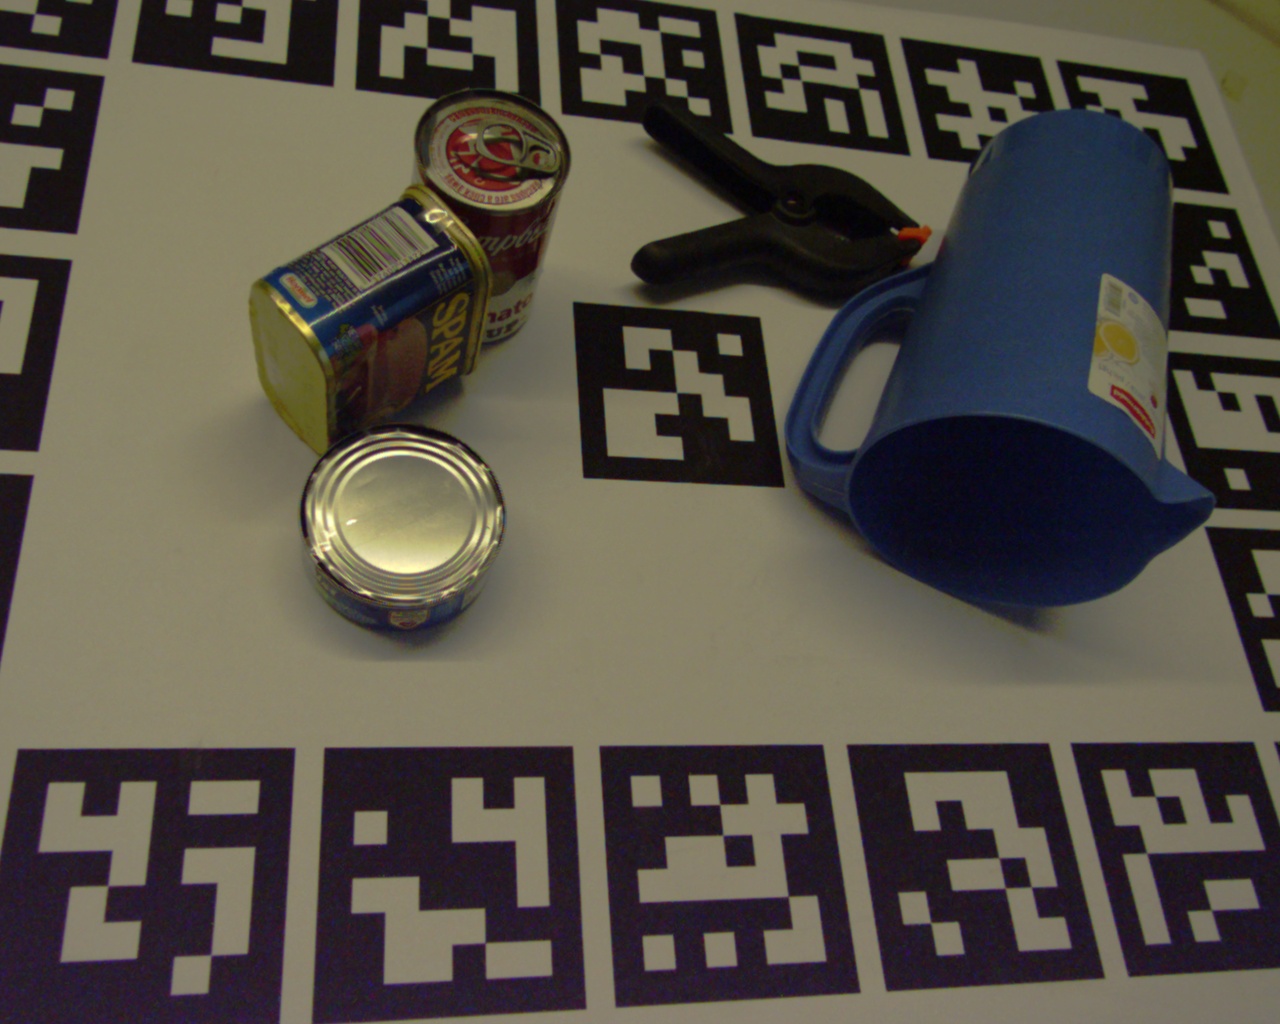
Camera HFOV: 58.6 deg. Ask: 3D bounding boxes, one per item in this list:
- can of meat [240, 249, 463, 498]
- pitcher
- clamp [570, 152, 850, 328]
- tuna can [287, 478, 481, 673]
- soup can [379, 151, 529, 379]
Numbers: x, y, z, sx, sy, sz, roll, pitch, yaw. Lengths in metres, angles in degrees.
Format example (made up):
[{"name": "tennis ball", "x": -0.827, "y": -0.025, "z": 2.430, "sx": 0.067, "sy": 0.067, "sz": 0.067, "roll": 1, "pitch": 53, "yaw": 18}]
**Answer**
[{"name": "can of meat", "x": -0.134, "y": -0.059, "z": 0.523, "sx": 0.083, "sy": 0.102, "sz": 0.058, "roll": -35, "pitch": 79, "yaw": -22}, {"name": "pitcher", "x": 0.175, "y": -0.071, "z": 0.588, "sx": 0.190, "sy": 0.132, "sz": 0.242, "roll": 10, "pitch": 53, "yaw": 15}, {"name": "clamp", "x": 0.042, "y": -0.150, "z": 0.663, "sx": 0.164, "sy": 0.037, "sz": 0.122, "roll": 5, "pitch": 60, "yaw": -16}, {"name": "tuna can", "x": -0.118, "y": 0.030, "z": 0.525, "sx": 0.085, "sy": 0.034, "sz": 0.086, "roll": 5, "pitch": 66, "yaw": -12}, {"name": "soup can", "x": -0.095, "y": -0.119, "z": 0.566, "sx": 0.067, "sy": 0.102, "sz": 0.068, "roll": 4, "pitch": 66, "yaw": -10}]
